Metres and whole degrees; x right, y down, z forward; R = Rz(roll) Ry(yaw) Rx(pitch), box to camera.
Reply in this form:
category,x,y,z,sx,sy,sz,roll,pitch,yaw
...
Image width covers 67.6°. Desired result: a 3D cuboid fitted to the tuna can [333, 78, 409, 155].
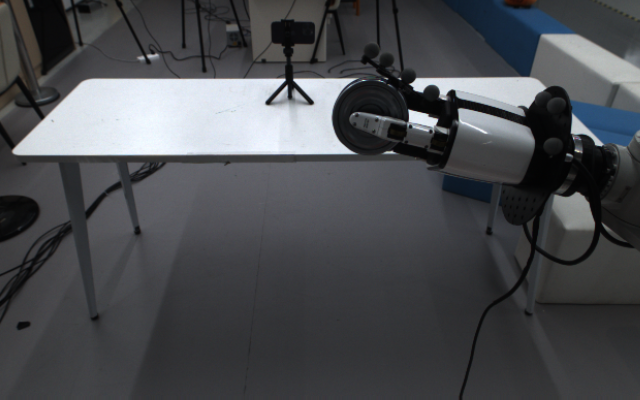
category,x,y,z,sx,sy,sz,roll,pitch,yaw
tuna can,0.061,-0.088,0.544,0.085,0.085,0.034,7,19,6
